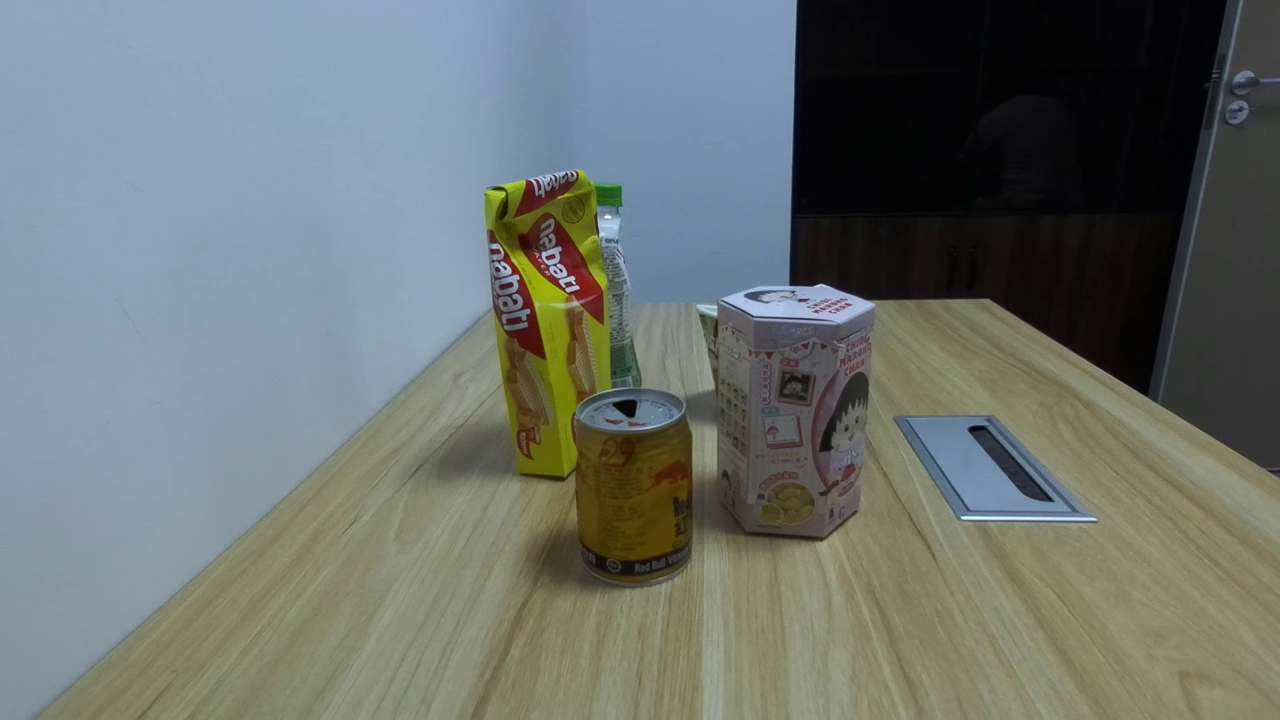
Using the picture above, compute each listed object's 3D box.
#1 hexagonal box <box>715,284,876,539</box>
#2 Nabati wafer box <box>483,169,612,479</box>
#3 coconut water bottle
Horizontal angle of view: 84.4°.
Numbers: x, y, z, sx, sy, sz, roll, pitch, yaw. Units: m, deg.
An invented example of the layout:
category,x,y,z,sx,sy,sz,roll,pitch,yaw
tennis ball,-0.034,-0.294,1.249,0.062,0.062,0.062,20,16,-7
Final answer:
category,x,y,z,sx,sy,sz,roll,pitch,yaw
hexagonal box,0.094,0.030,0.433,0.083,0.136,0.091,14,24,39
Nabati wafer box,-0.060,-0.026,0.510,0.042,0.205,0.113,4,21,22
coconut water bottle,-0.032,-0.062,0.634,0.069,0.187,0.069,-1,15,1
